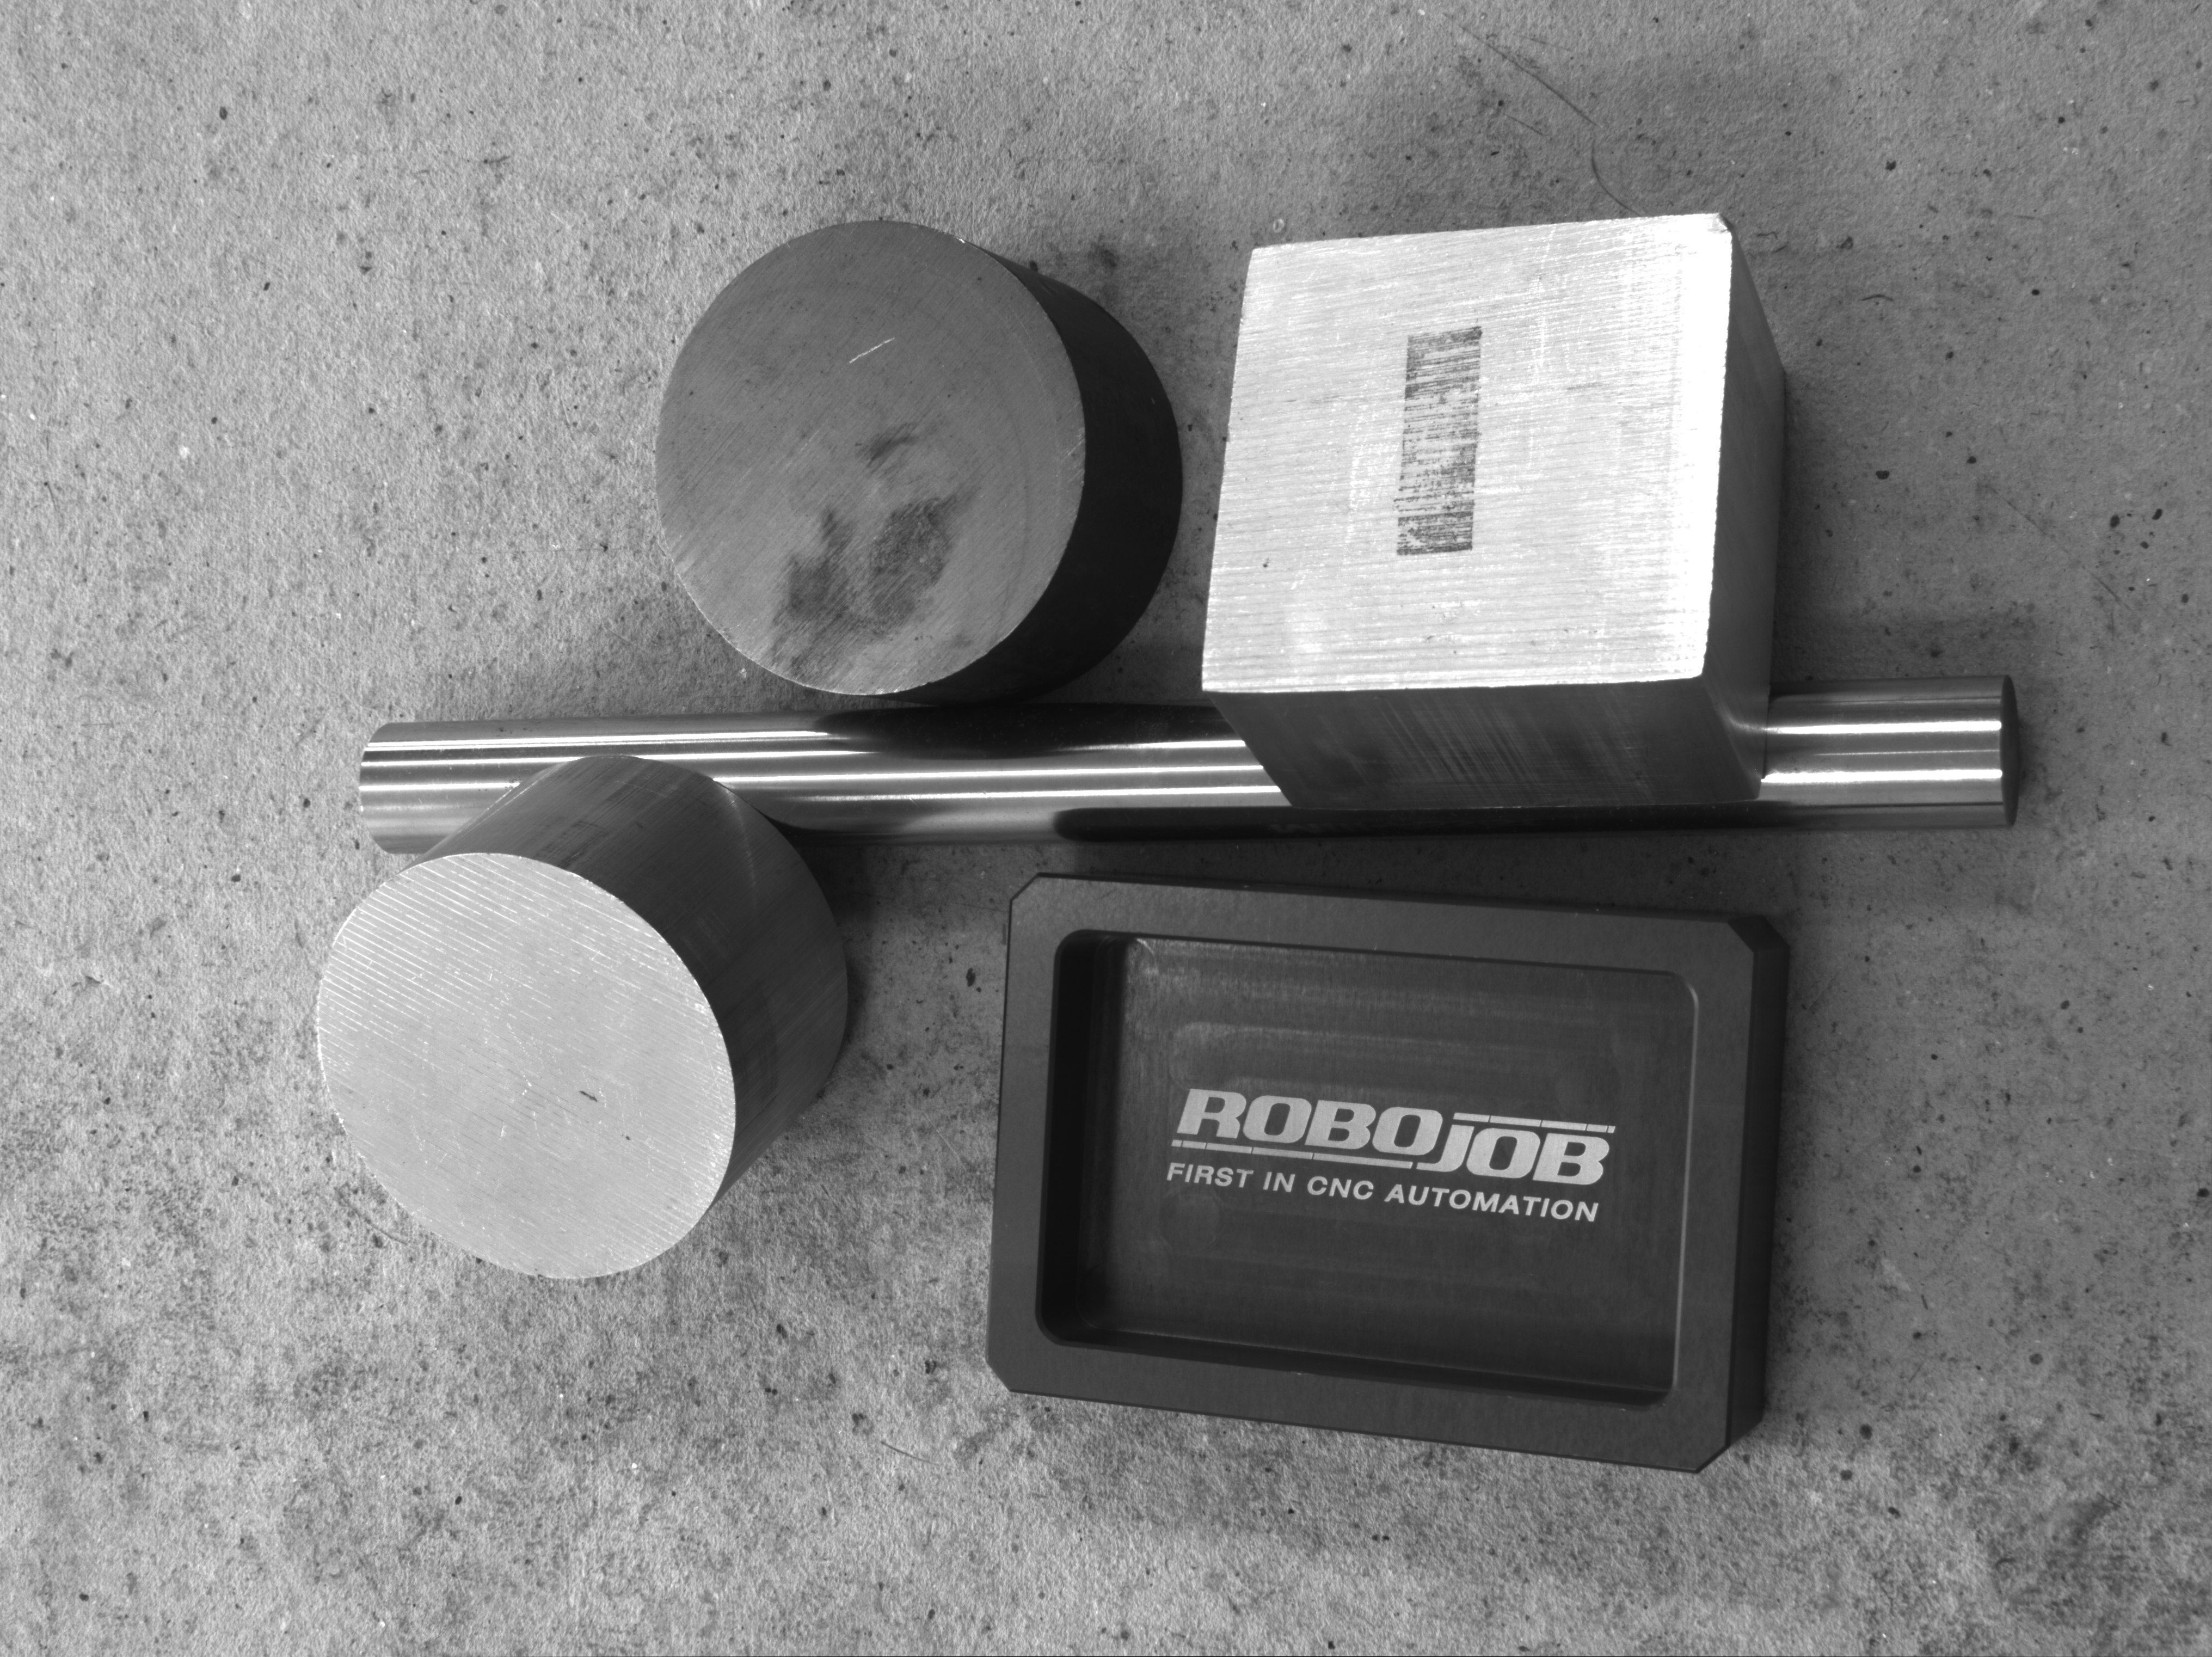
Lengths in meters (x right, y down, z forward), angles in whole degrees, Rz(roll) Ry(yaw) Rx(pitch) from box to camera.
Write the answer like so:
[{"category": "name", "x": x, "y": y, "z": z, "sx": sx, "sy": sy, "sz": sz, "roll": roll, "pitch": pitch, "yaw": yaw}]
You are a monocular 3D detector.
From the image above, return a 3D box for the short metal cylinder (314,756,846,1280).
[{"category": "short metal cylinder", "x": -0.093, "y": 0.033, "z": 0.654, "sx": 0.080, "sy": 0.050, "sz": 0.080, "roll": 7, "pitch": 113, "yaw": 17}]

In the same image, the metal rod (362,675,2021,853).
[{"category": "metal rod", "x": 0.006, "y": -0.010, "z": 0.646, "sx": 0.299, "sy": 0.025, "sz": 0.025, "roll": -1, "pitch": 90, "yaw": 20}]

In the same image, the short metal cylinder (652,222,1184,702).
[{"category": "short metal cylinder", "x": -0.032, "y": -0.062, "z": 0.646, "sx": 0.080, "sy": 0.050, "sz": 0.080, "roll": 0, "pitch": 89, "yaw": 20}]

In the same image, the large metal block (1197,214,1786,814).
[{"category": "large metal block", "x": 0.065, "y": -0.049, "z": 0.597, "sx": 0.080, "sy": 0.050, "sz": 0.080, "roll": -1, "pitch": 68, "yaw": 20}]

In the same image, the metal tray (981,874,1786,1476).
[{"category": "metal tray", "x": 0.046, "y": 0.056, "z": 0.627, "sx": 0.130, "sy": 0.030, "sz": 0.090, "roll": 4, "pitch": 91, "yaw": 20}]
